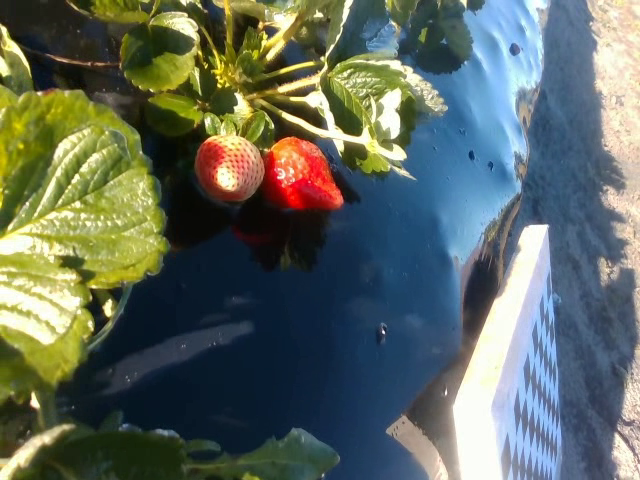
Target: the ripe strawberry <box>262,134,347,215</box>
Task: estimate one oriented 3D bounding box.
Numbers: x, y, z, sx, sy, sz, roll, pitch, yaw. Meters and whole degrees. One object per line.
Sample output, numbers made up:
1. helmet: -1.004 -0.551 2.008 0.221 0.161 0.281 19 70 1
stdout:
1. ripe strawberry: -0.002 -0.029 0.290 0.040 0.038 0.055 -39 41 -24
